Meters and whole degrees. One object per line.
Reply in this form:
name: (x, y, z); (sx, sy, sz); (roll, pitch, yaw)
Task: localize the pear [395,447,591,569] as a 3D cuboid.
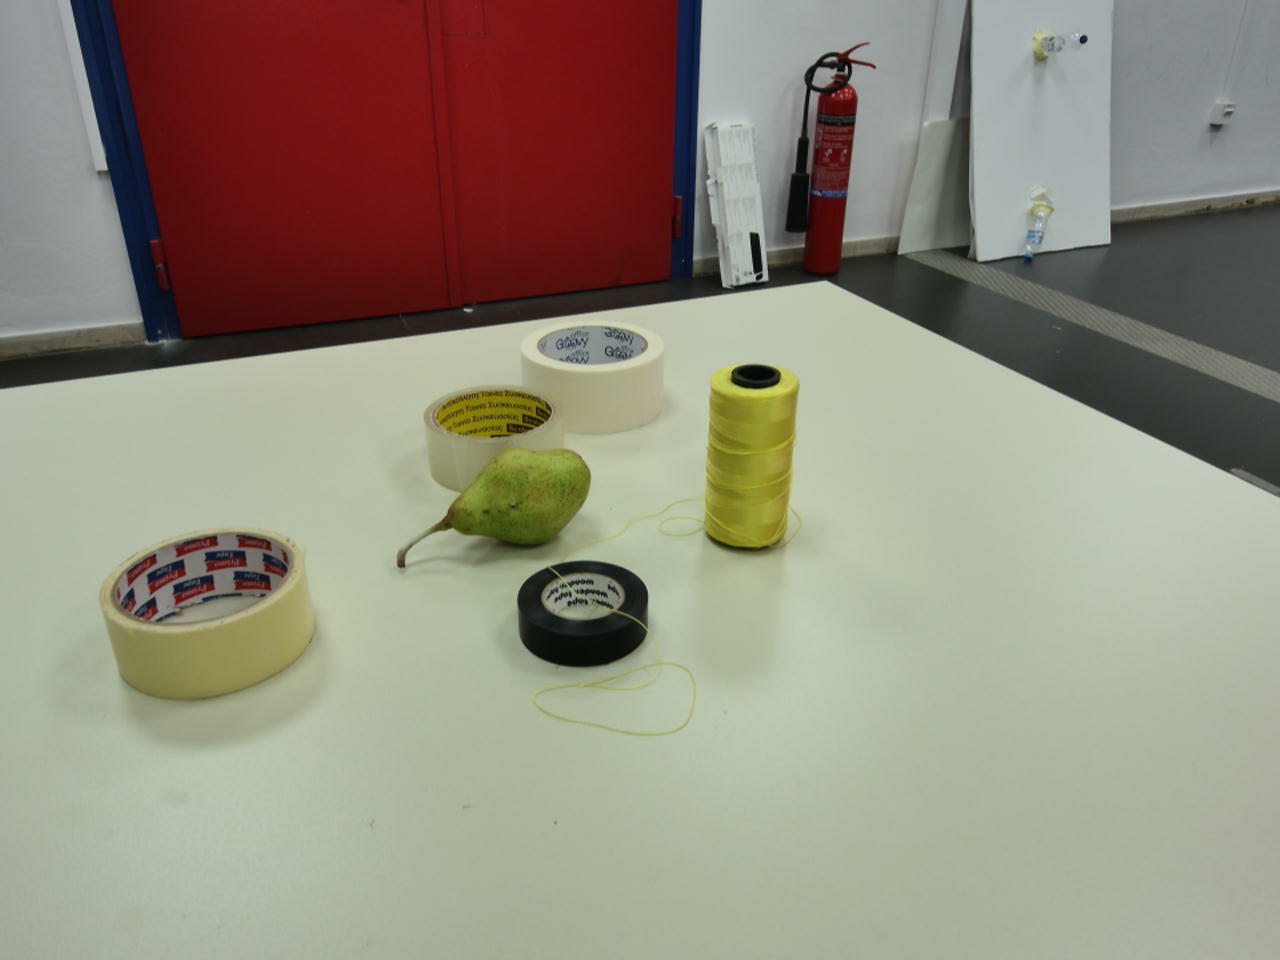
pear: (-0.083, 0.011, 0.567); (0.111, 0.056, 0.056); (-4, 27, -9)
